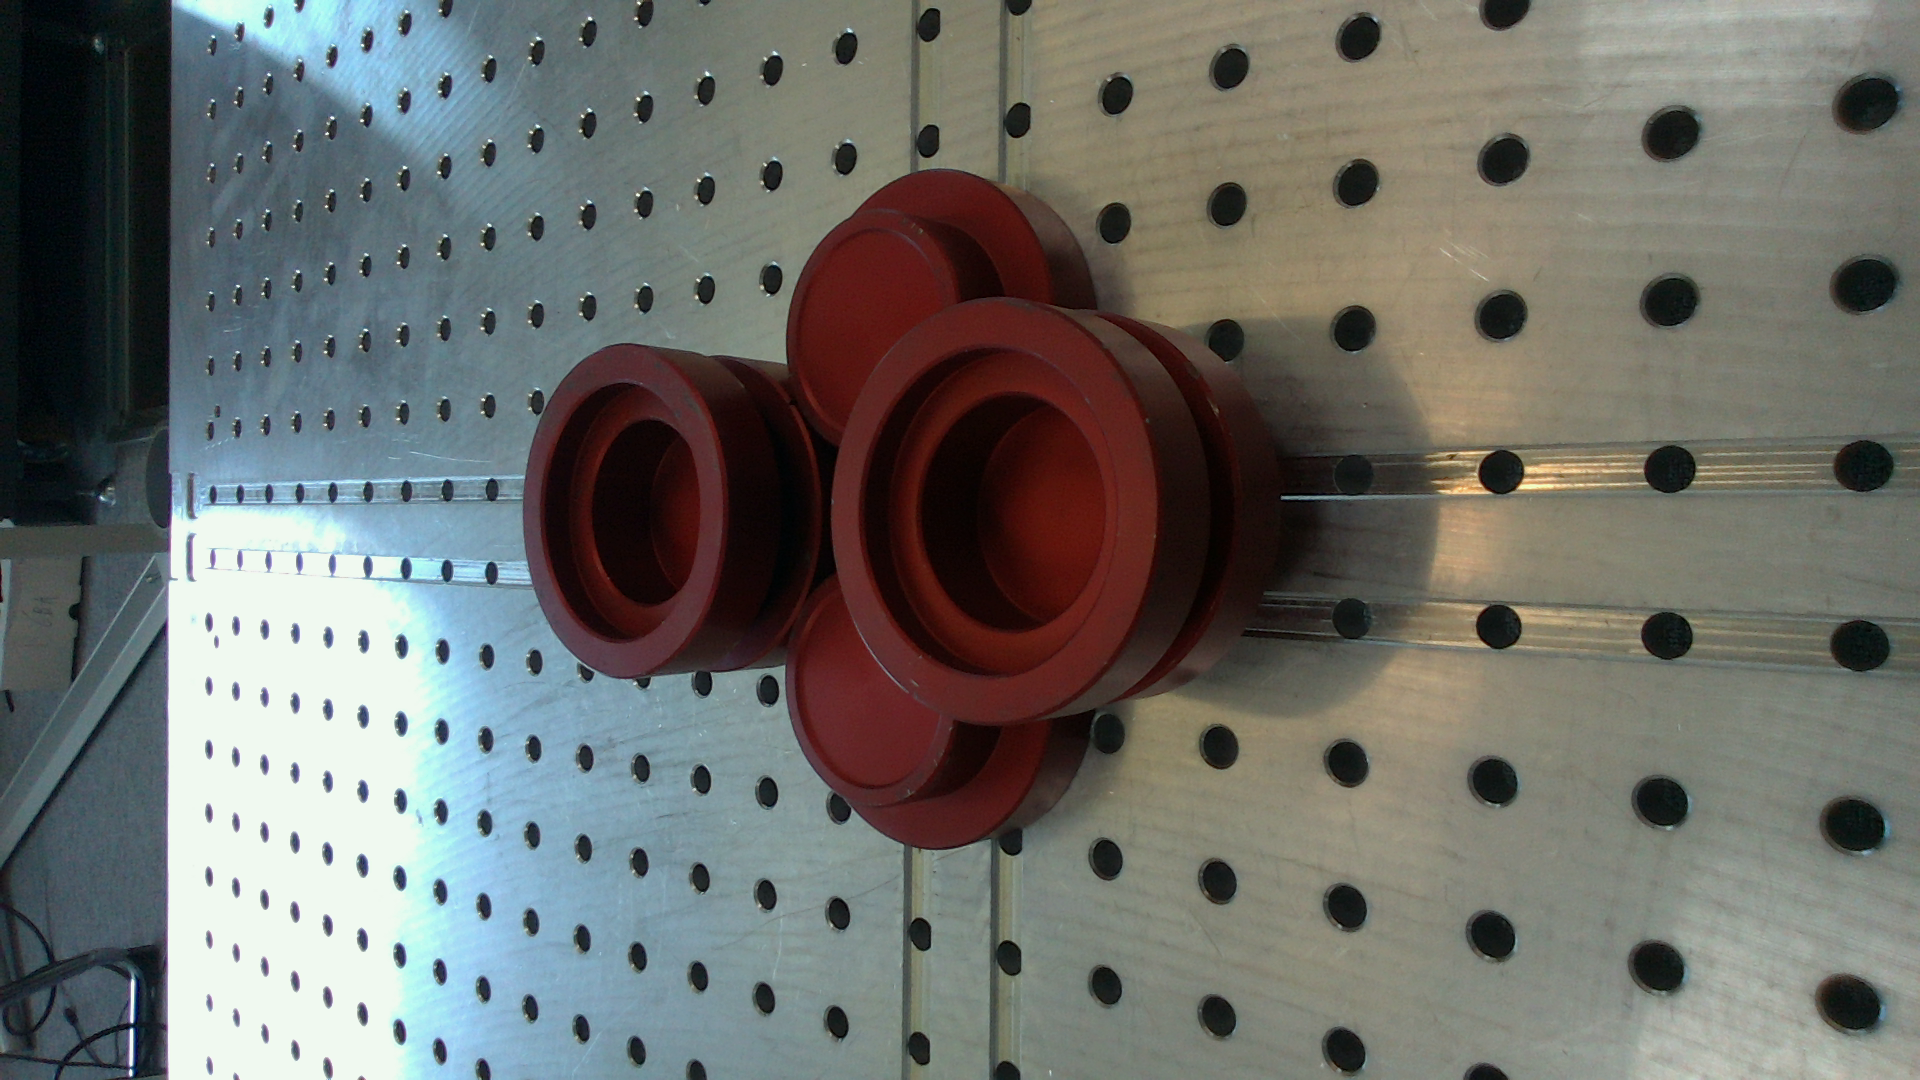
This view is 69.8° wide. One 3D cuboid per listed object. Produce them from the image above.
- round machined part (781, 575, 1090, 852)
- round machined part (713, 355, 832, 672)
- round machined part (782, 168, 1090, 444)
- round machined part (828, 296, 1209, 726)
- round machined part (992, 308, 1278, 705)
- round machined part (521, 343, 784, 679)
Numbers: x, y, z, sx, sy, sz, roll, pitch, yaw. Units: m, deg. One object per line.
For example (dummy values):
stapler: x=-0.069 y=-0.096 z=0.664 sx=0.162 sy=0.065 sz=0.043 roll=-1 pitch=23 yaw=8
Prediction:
round machined part: x=-0.014 y=0.041 z=0.397 sx=0.098 sy=0.042 sz=0.098 roll=0 pitch=90 yaw=40
round machined part: x=-0.065 y=-0.008 z=0.441 sx=0.098 sy=0.042 sz=0.098 roll=0 pitch=90 yaw=40
round machined part: x=-0.014 y=-0.058 z=0.398 sx=0.098 sy=0.042 sz=0.098 roll=0 pitch=90 yaw=40
round machined part: x=0.017 y=-0.007 z=0.330 sx=0.098 sy=0.042 sz=0.098 roll=0 pitch=90 yaw=40
round machined part: x=0.038 y=-0.008 z=0.354 sx=0.098 sy=0.042 sz=0.098 roll=0 pitch=90 yaw=40
round machined part: x=-0.088 y=-0.008 z=0.418 sx=0.098 sy=0.042 sz=0.098 roll=0 pitch=90 yaw=40
